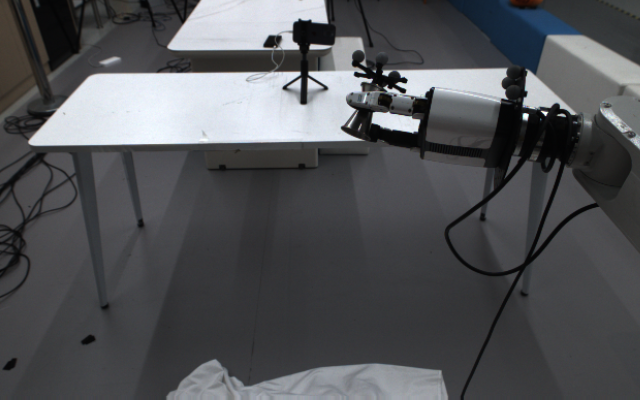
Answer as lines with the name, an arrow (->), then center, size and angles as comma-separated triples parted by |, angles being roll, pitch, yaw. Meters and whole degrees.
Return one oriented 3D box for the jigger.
jigger -> 0.059, -0.123, 0.658 | 0.043, 0.071, 0.043 | 24, -2, 1
